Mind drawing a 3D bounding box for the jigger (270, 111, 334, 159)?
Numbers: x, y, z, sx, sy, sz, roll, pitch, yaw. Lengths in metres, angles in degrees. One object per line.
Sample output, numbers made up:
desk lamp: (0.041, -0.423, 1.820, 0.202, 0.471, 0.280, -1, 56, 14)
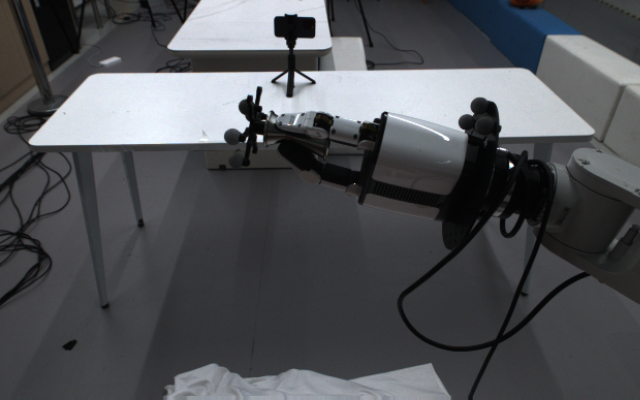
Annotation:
jigger: (-0.016, -0.074, 0.521, 0.071, 0.043, 0.043, 11, 35, 3)
